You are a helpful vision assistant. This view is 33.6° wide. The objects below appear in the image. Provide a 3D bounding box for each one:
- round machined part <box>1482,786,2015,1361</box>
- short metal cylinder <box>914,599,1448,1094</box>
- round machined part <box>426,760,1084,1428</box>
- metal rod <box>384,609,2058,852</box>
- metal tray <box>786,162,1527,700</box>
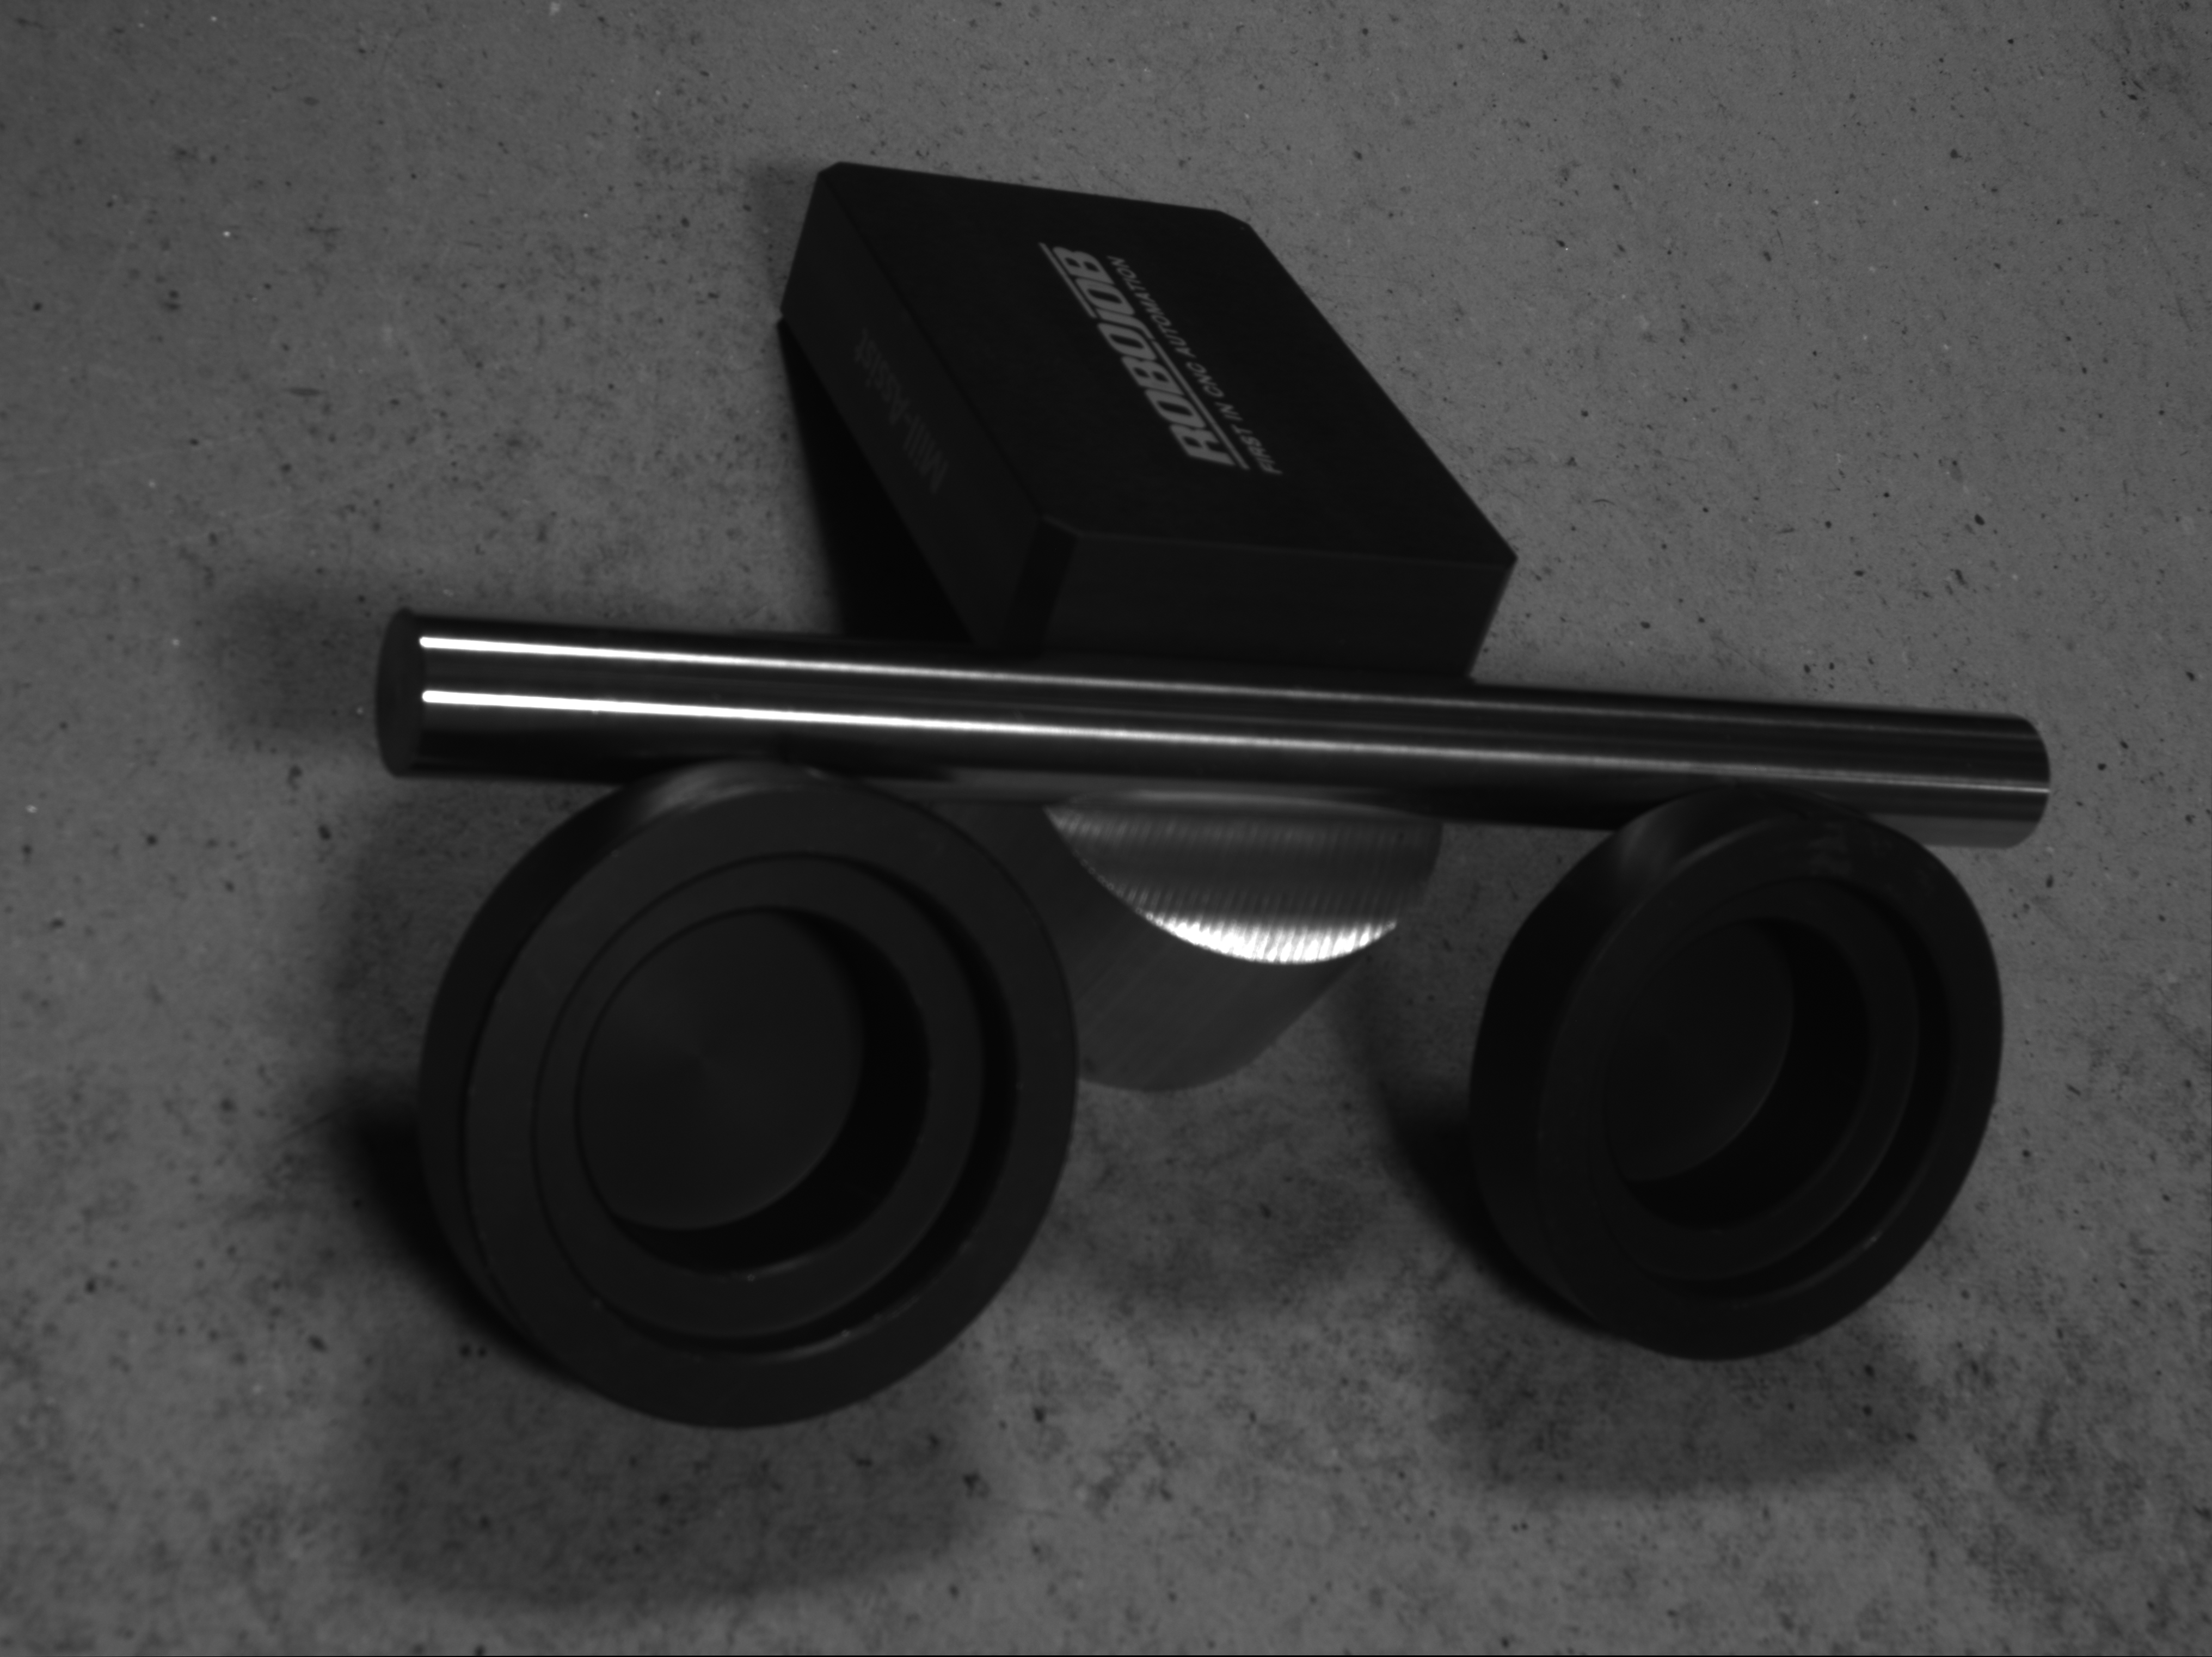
[{"bbox_3d":[0.107,0.040,0.640,0.098,0.042,0.098,-8,108,-25],"label":"round machined part"},{"bbox_3d":[0.012,-0.001,0.631,0.080,0.050,0.080,14,56,-21],"label":"short metal cylinder"},{"bbox_3d":[-0.056,0.038,0.556,0.098,0.042,0.098,-6,103,-28],"label":"round machined part"},{"bbox_3d":[0.032,-0.014,0.602,0.301,0.025,0.025,2,60,-27],"label":"metal rod"},{"bbox_3d":[0.006,-0.071,0.649,0.090,0.030,0.130,2,35,-27],"label":"metal tray"}]
